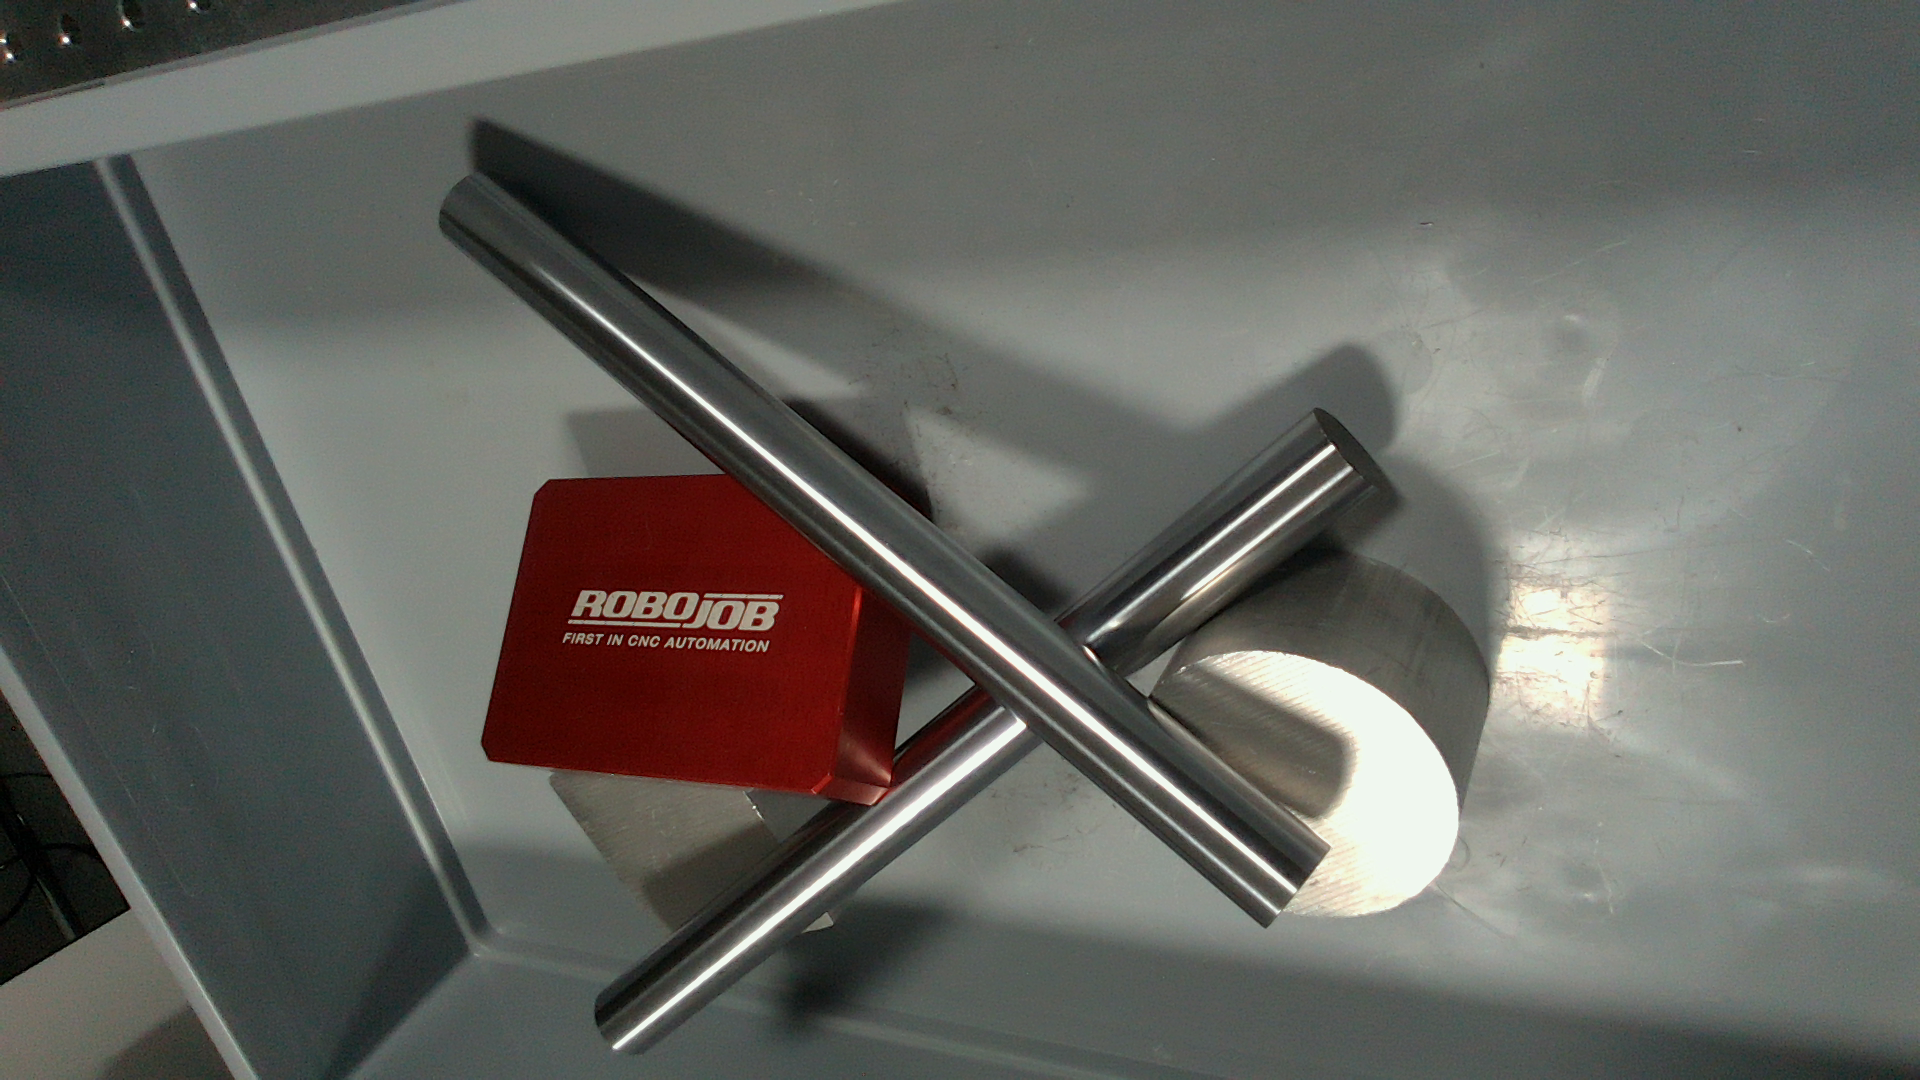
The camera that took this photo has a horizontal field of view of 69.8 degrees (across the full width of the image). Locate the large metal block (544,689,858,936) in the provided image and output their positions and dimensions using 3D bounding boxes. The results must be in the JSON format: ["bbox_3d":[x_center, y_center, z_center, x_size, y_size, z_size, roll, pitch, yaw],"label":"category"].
[{"bbox_3d":[-0.080,0.091,0.470,0.080,0.050,0.080,-21,107,36],"label":"large metal block"}]

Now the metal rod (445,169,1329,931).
[{"bbox_3d":[-0.032,-0.009,0.365,0.299,0.025,0.025,39,130,17],"label":"metal rod"}]

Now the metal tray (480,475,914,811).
[{"bbox_3d":[-0.079,0.028,0.412,0.130,0.030,0.090,1,75,29],"label":"metal tray"}]

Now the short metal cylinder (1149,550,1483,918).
[{"bbox_3d":[0.090,0.050,0.357,0.080,0.050,0.080,13,124,21],"label":"short metal cylinder"}]

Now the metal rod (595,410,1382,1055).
[{"bbox_3d":[-0.009,0.068,0.391,0.025,0.025,0.299,46,115,-4],"label":"metal rod"}]
